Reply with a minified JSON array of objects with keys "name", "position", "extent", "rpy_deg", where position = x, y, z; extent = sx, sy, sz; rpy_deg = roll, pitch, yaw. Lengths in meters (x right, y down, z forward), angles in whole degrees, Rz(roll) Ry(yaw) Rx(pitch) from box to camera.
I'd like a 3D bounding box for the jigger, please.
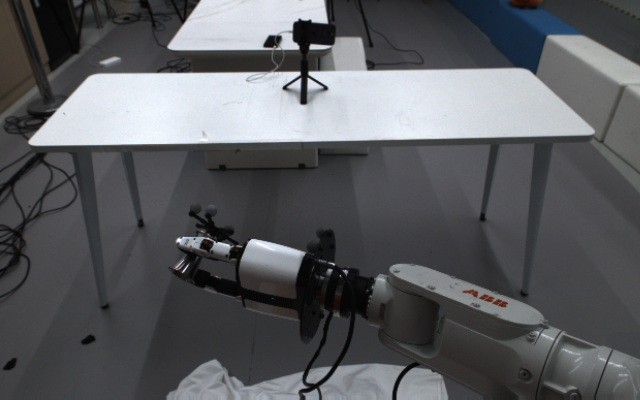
[{"name":"jigger","position":[-0.184,0.080,0.705],"extent":[0.043,0.043,0.071],"rpy_deg":[19,62,23]}]
